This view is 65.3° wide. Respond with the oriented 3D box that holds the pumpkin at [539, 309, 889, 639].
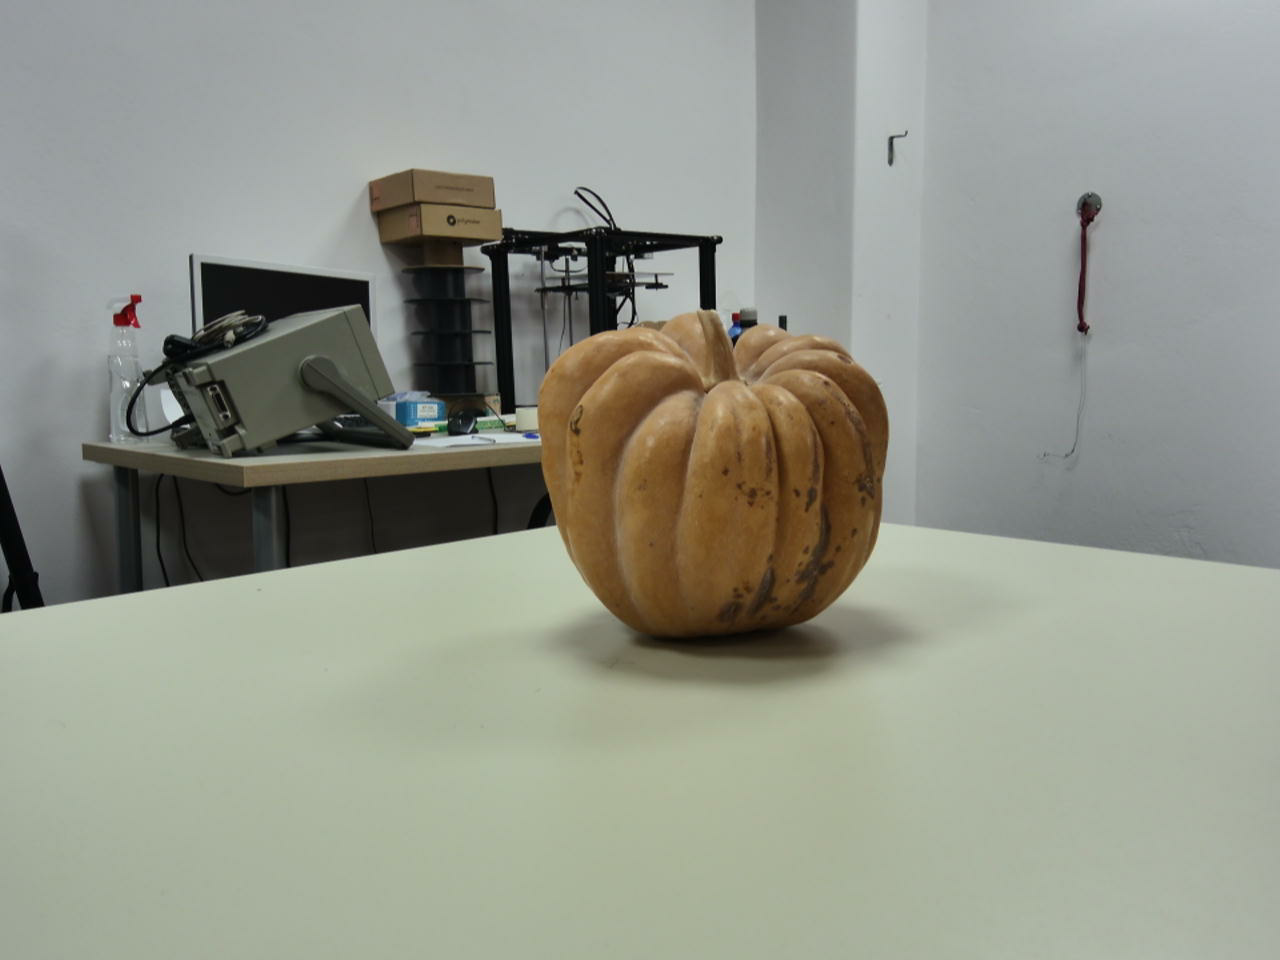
[{"bbox_3d":[0.039,-0.004,0.557,0.199,0.177,0.198,0,5,0],"label":"pumpkin"}]
